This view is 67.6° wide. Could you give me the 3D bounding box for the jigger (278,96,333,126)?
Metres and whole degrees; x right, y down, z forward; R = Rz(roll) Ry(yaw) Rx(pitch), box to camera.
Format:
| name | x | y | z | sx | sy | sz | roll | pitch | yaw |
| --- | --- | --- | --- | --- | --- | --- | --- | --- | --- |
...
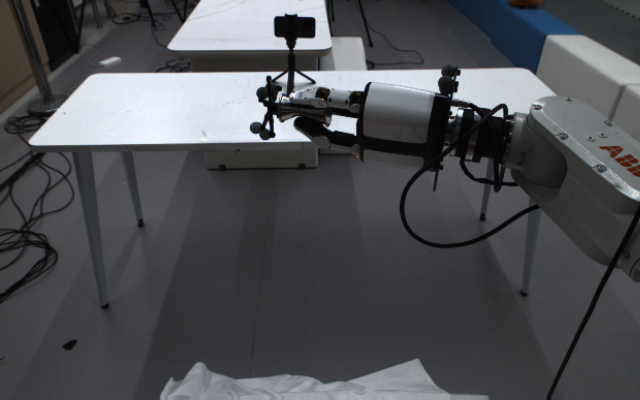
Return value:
| name | x | y | z | sx | sy | sz | roll | pitch | yaw |
| --- | --- | --- | --- | --- | --- | --- | --- | --- | --- |
| jigger | -0.014 | -0.130 | 0.670 | 0.071 | 0.043 | 0.043 | 5 | 34 | 13 |
